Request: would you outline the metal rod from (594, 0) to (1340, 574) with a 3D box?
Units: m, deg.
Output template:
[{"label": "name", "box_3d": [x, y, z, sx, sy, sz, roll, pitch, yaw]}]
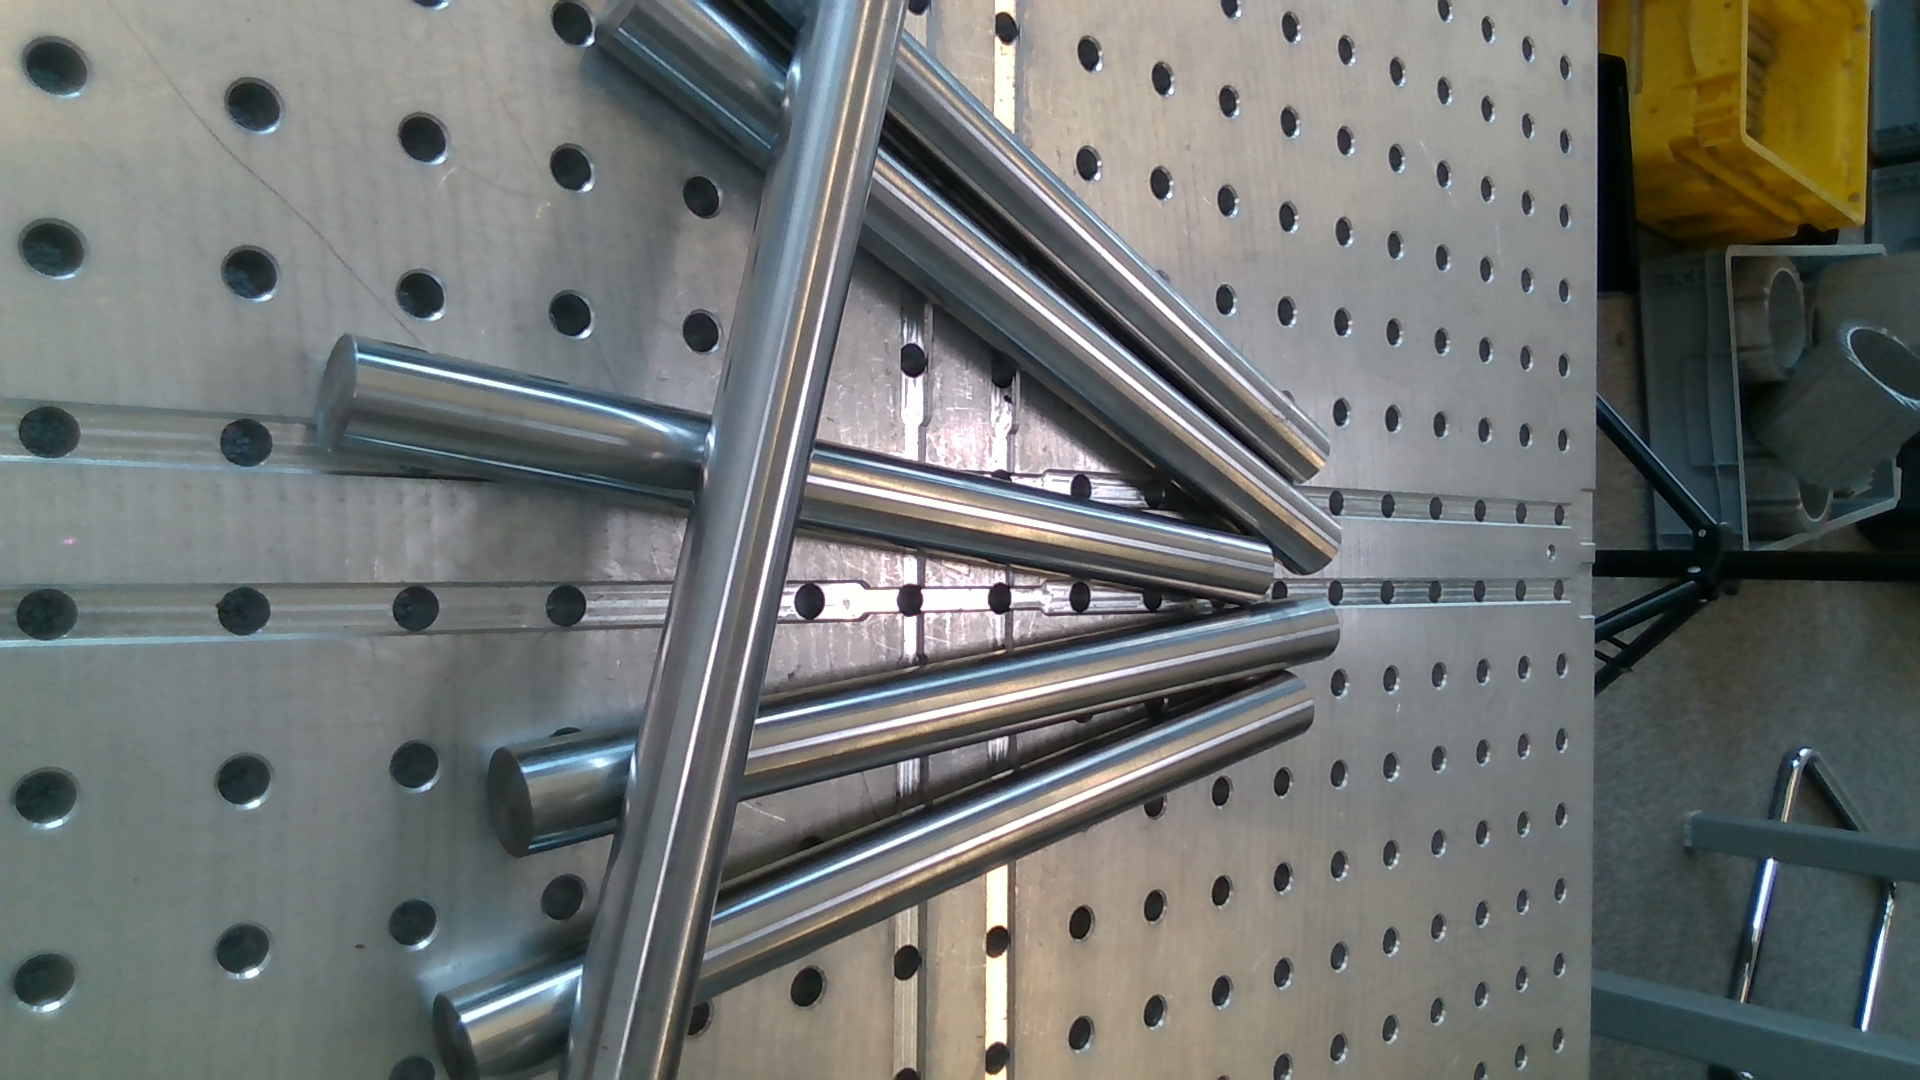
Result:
[{"label": "metal rod", "box_3d": [0.024, -0.064, 0.414, 0.301, 0.025, 0.025, 32, 70, -36]}]

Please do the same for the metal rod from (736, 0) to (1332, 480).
[{"label": "metal rod", "box_3d": [0.021, -0.100, 0.410, 0.301, 0.025, 0.025, 34, 69, -35]}]

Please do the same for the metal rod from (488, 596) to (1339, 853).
[{"label": "metal rod", "box_3d": [0.013, 0.045, 0.405, 0.300, 0.025, 0.025, -7, 94, -40]}]

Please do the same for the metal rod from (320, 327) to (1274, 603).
[{"label": "metal rod", "box_3d": [-0.015, -0.011, 0.381, 0.300, 0.025, 0.025, 10, 83, -40]}]

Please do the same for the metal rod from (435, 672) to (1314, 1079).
[{"label": "metal rod", "box_3d": [0.003, 0.084, 0.396, 0.300, 0.025, 0.025, -13, 98, -39]}]
